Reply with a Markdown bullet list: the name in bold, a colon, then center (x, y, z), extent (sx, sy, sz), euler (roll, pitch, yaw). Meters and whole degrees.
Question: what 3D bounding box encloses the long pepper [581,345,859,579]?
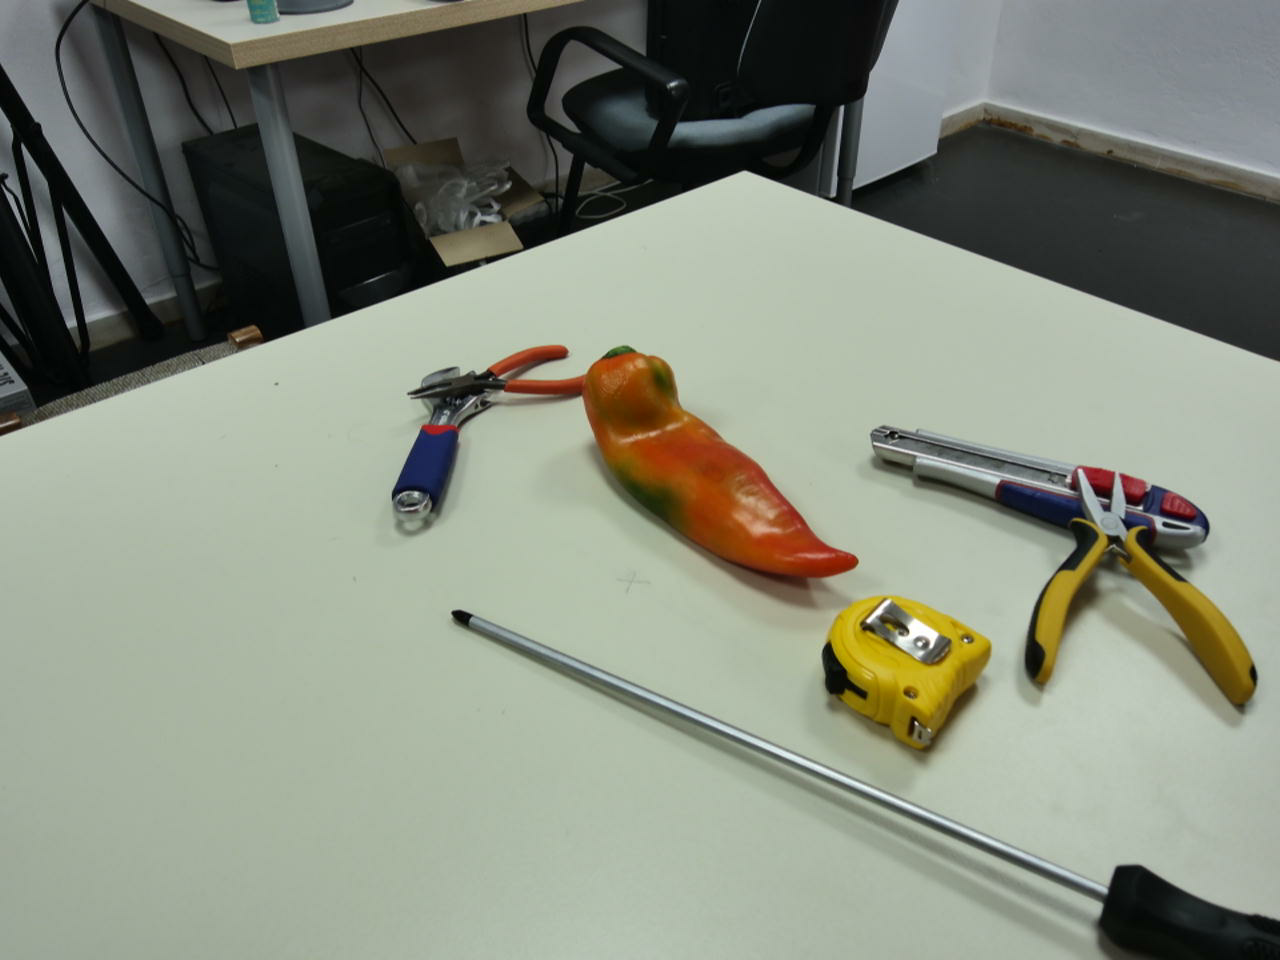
- **long pepper**: center (0.037, -0.009, 0.529), extent (0.066, 0.065, 0.199), euler (-23, 41, -27)
